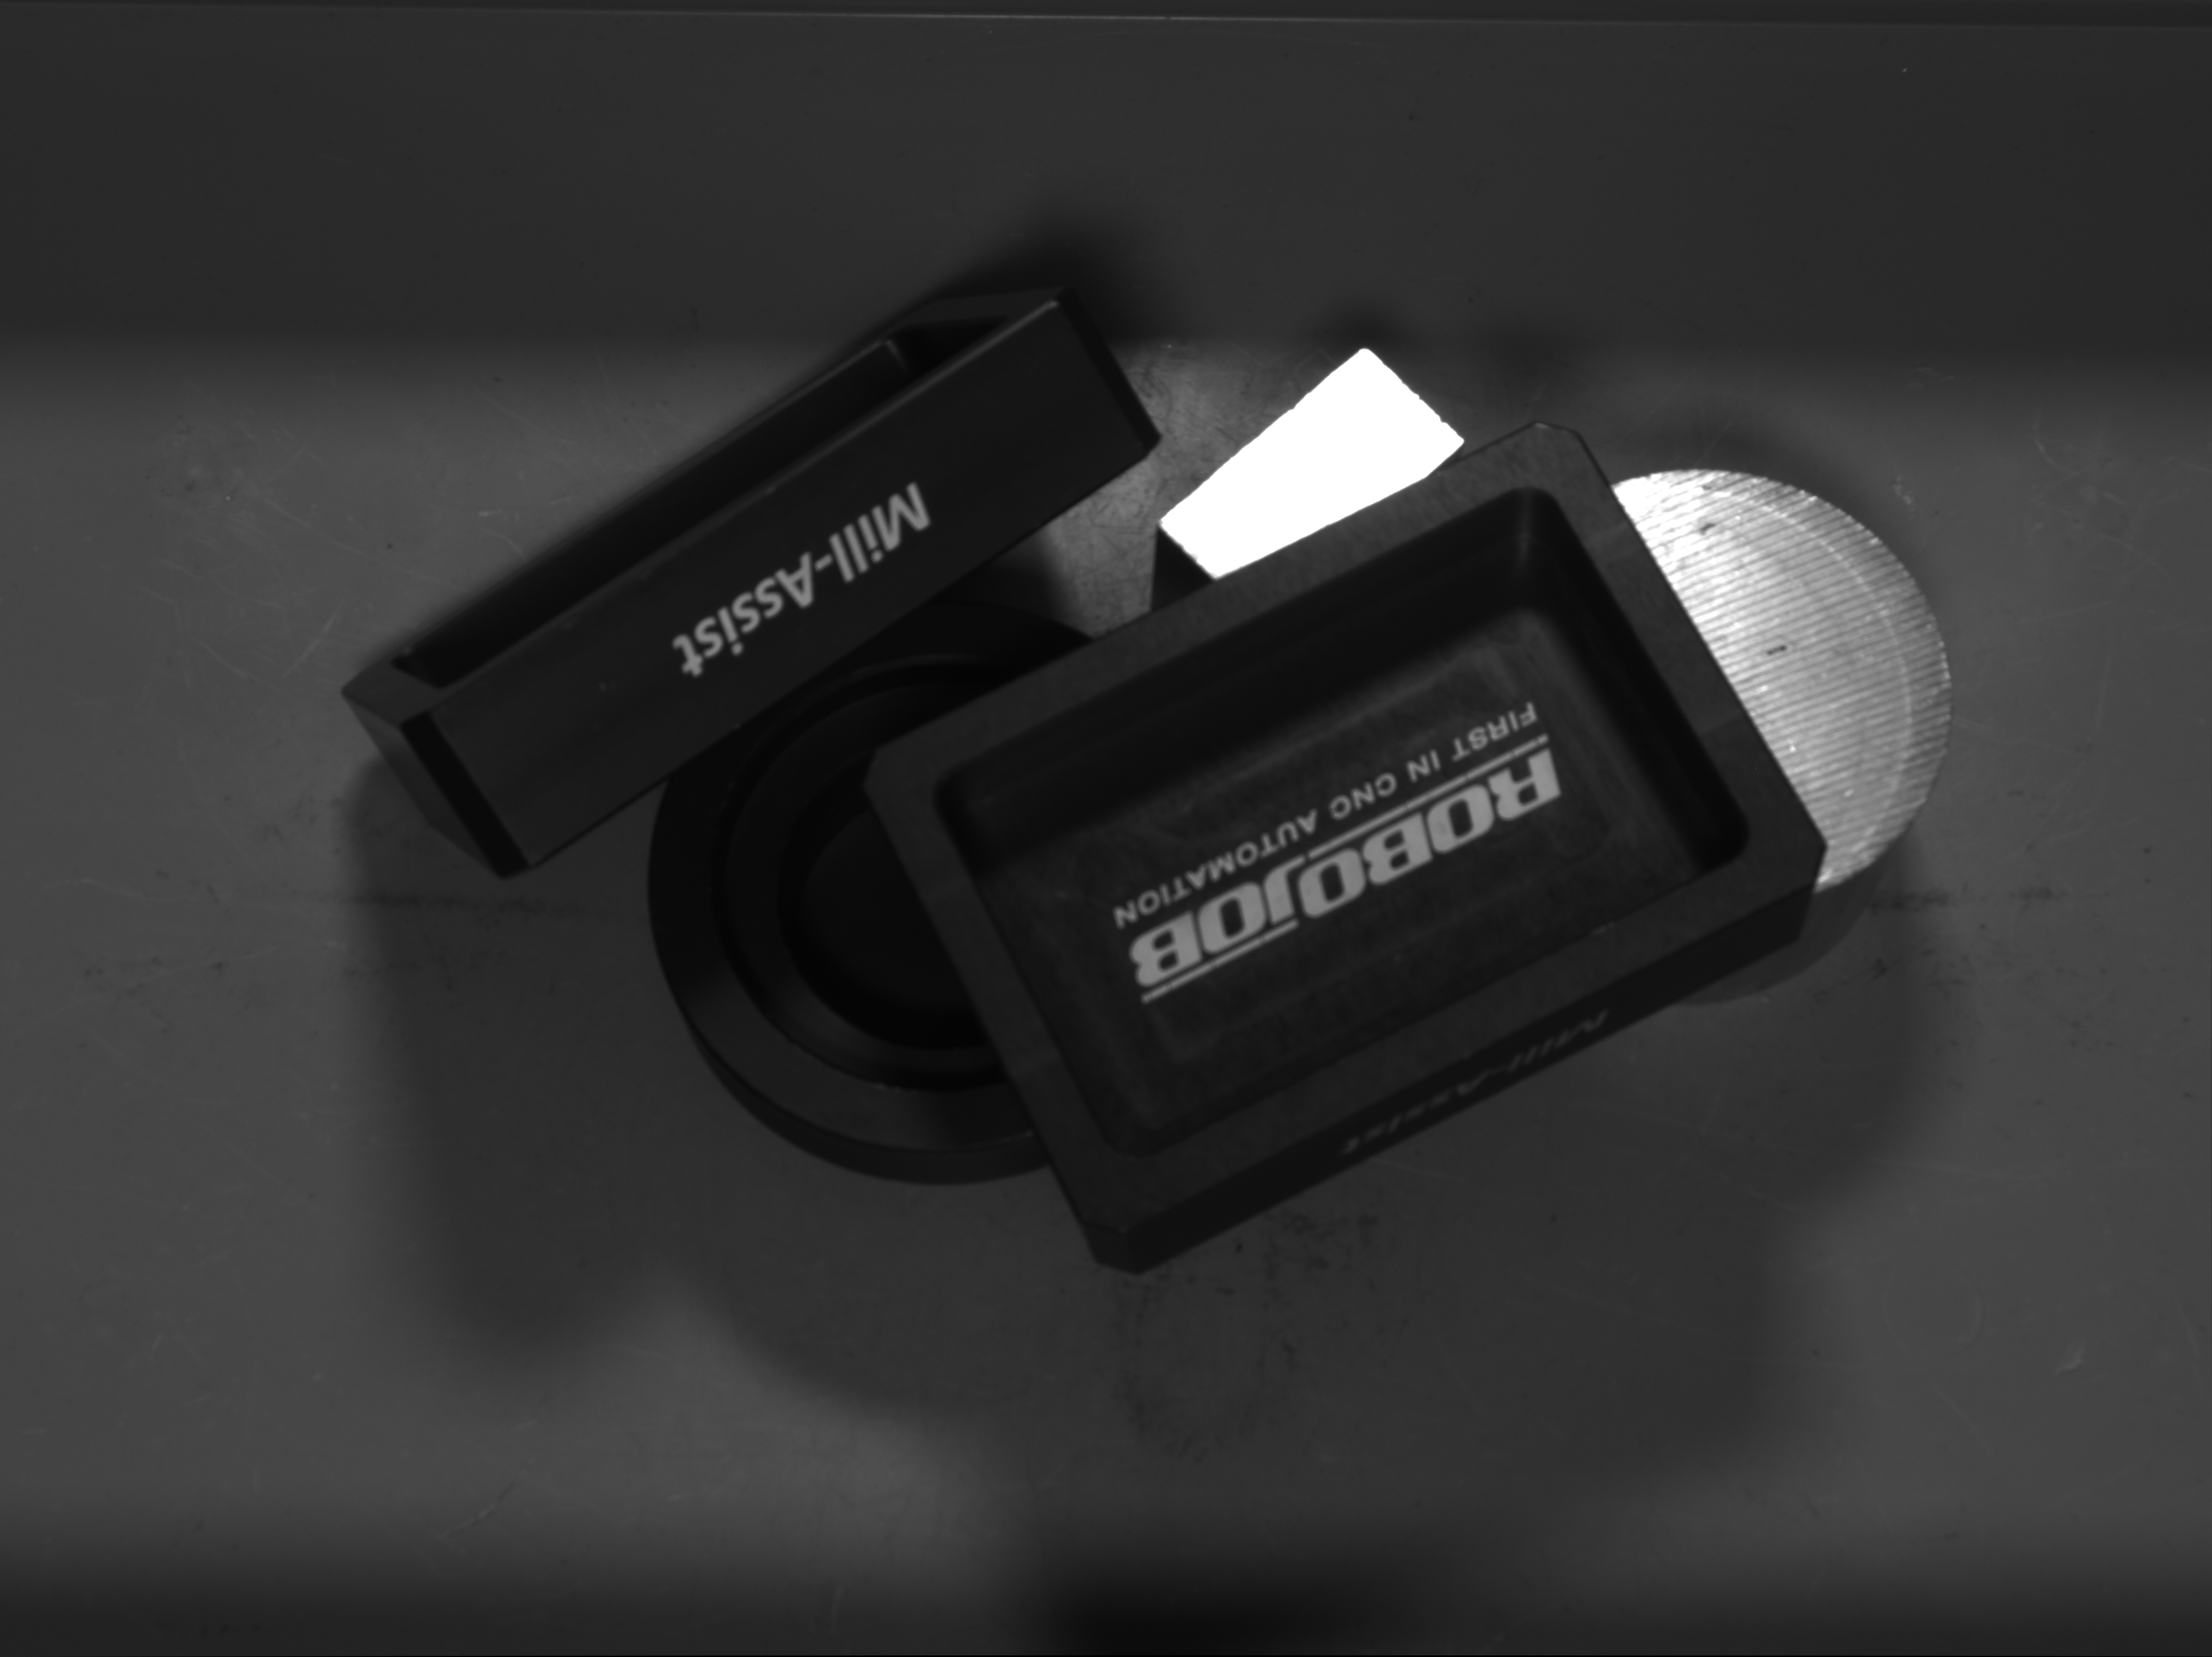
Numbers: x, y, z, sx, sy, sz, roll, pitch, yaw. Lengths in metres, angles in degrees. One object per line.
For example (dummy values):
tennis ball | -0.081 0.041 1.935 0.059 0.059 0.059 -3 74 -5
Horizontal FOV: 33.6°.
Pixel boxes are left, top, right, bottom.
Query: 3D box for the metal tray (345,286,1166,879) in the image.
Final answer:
metal tray | -0.062 -0.044 0.623 0.130 0.090 0.030 -35 105 -12

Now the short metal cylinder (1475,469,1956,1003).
short metal cylinder | 0.102 -0.015 0.635 0.080 0.050 0.080 0 70 0

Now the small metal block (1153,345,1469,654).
small metal block | 0.035 -0.050 0.648 0.050 0.050 0.025 -41 75 -15

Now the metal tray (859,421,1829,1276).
metal tray | 0.038 0.003 0.589 0.130 0.030 0.090 -26 71 -5

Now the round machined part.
round machined part | -0.027 0.015 0.630 0.098 0.042 0.098 0 70 0
